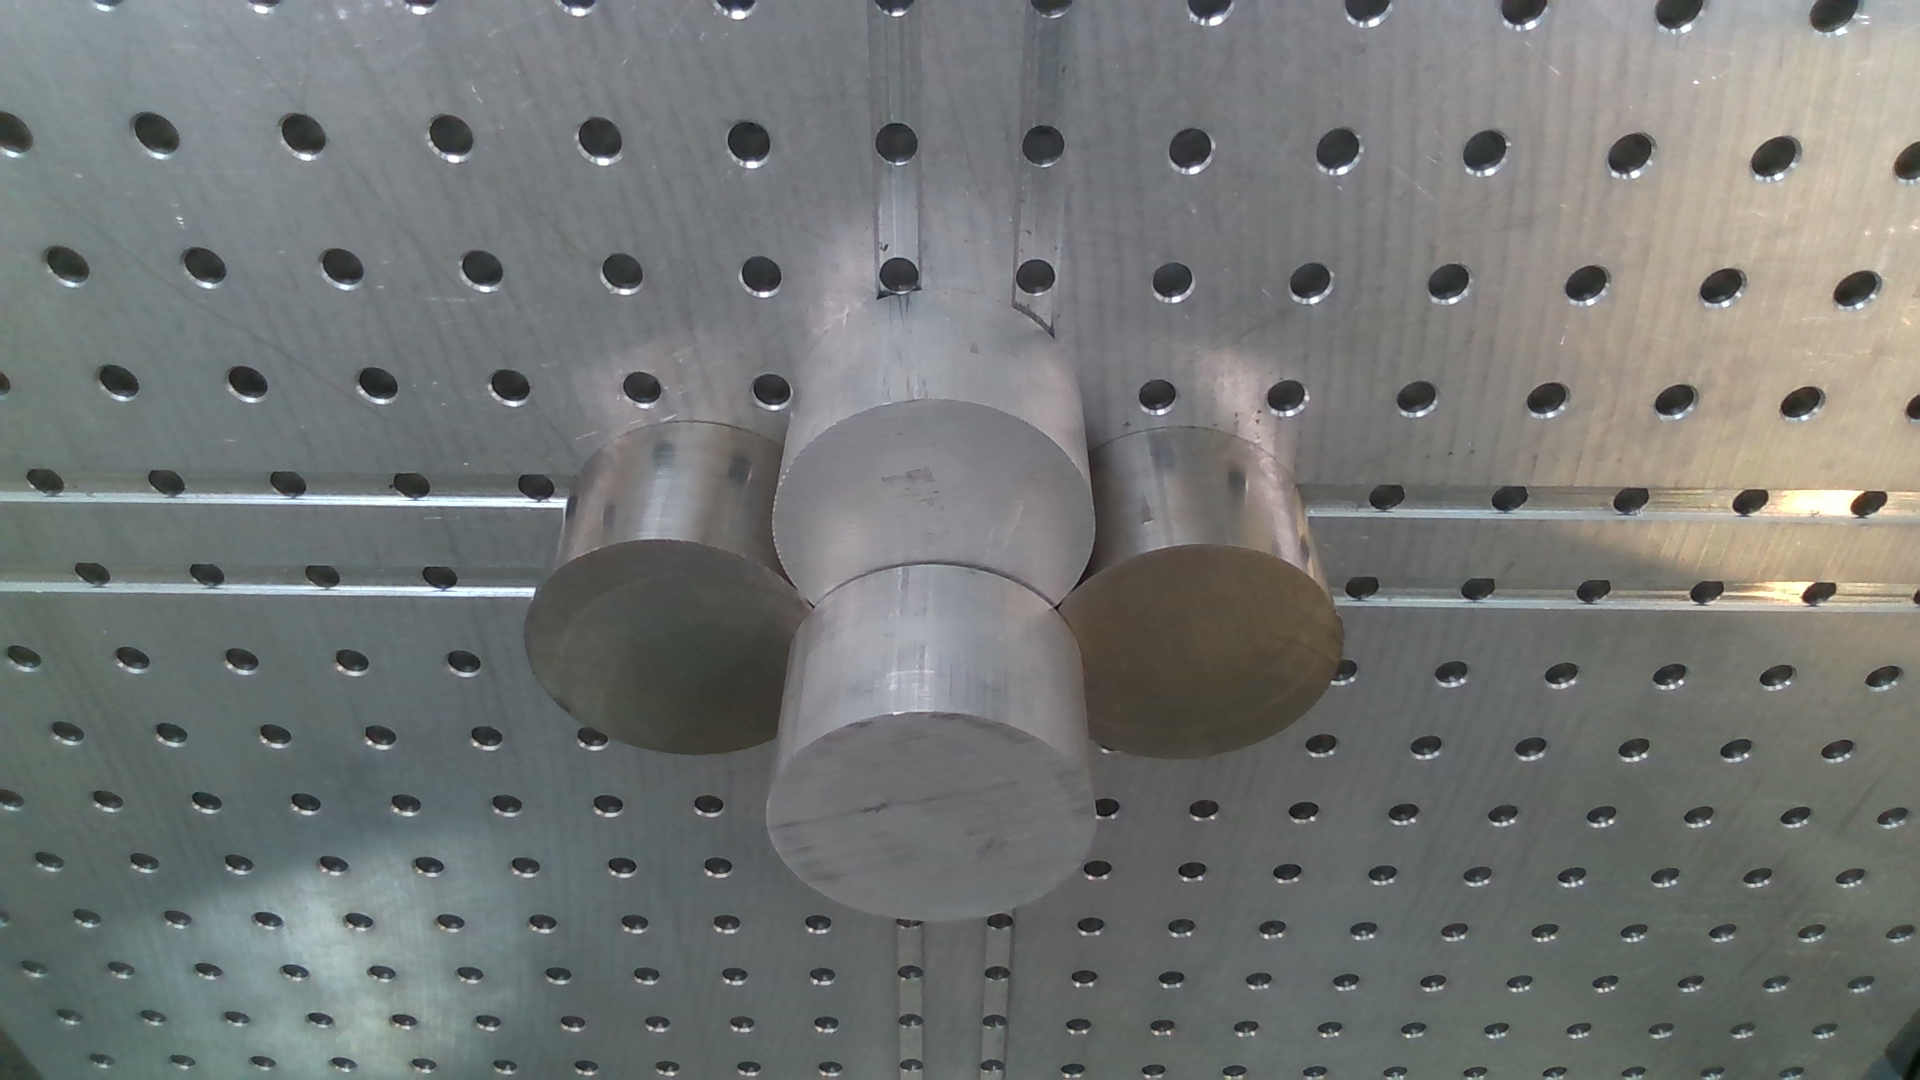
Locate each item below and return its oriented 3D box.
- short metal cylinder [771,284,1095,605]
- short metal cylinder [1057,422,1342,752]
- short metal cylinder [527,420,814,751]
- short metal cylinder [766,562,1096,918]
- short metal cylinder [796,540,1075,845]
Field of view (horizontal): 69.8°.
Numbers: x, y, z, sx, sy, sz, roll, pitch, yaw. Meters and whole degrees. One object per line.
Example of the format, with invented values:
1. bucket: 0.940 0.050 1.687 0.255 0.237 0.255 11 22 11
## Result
1. short metal cylinder: -0.007 -0.019 0.359 0.080 0.050 0.080 0 130 0
2. short metal cylinder: 0.062 0.014 0.387 0.080 0.050 0.080 0 131 0
3. short metal cylinder: -0.075 0.014 0.386 0.080 0.050 0.080 -1 131 -2
4. short metal cylinder: -0.007 0.052 0.353 0.080 0.050 0.080 0 130 0
5. short metal cylinder: -0.007 0.047 0.414 0.080 0.050 0.080 0 130 0
